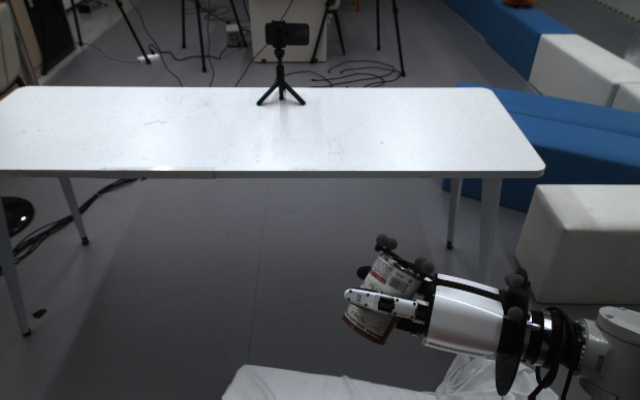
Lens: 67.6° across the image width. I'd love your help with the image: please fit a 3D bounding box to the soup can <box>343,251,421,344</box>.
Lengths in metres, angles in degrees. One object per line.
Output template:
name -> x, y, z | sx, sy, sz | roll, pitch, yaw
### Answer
soup can -> 0.086, 0.130, 0.642 | 0.067, 0.101, 0.067 | 30, 2, -1
